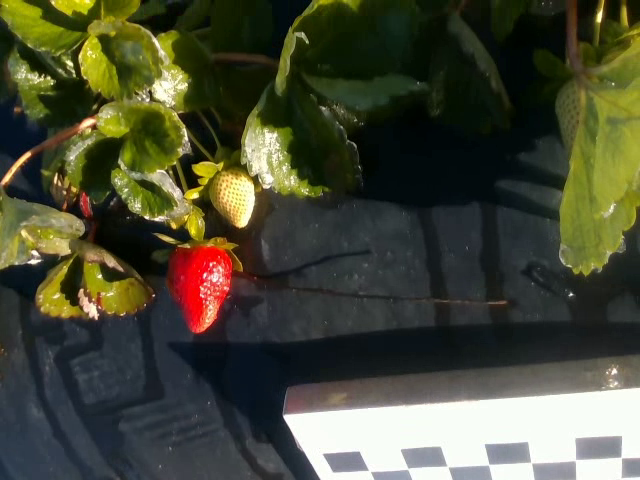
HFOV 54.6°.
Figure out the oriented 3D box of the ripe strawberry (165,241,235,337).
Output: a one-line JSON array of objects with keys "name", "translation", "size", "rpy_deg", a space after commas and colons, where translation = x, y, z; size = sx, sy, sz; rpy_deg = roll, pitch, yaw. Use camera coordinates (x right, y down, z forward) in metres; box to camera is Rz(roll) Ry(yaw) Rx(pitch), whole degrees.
[{"name": "ripe strawberry", "translation": [-0.051, 0.023, 0.259], "size": [0.039, 0.039, 0.040], "rpy_deg": [-9, -24, 30]}]
